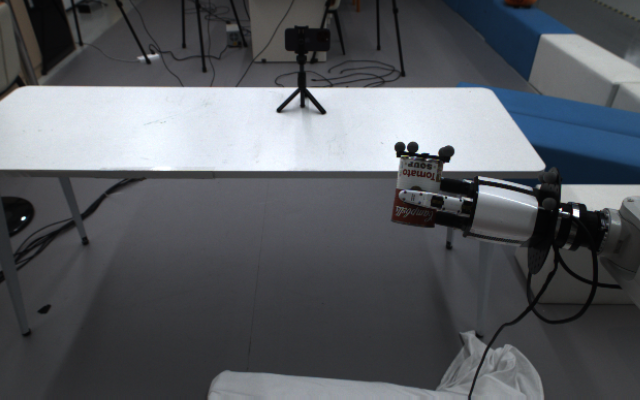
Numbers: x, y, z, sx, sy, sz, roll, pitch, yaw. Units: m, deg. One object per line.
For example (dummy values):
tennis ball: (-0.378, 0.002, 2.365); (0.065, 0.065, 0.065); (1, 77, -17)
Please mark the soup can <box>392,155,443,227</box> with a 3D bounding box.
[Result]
soup can: (0.151, -0.014, 0.747); (0.067, 0.101, 0.067); (7, 4, 0)
